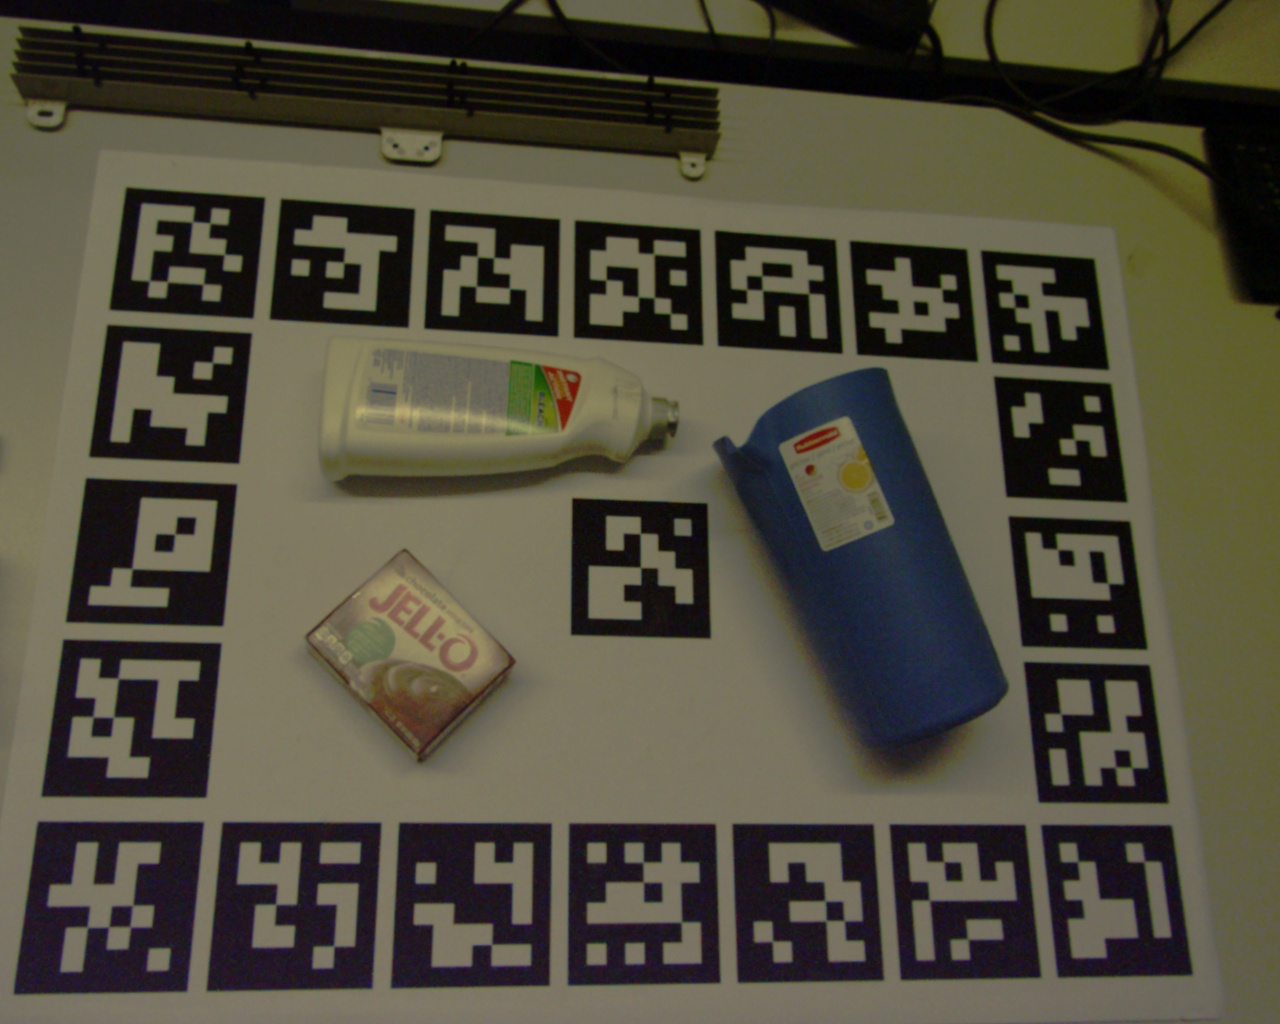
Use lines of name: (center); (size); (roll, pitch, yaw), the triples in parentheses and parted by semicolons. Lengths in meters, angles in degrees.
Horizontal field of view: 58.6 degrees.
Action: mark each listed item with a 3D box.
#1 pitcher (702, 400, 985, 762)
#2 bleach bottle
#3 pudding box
pitcher: (0.158, 0.048, 0.837); (0.186, 0.135, 0.243); (-17, 81, -48)
bleach bottle: (-0.102, -0.060, 0.844); (0.249, 0.068, 0.103); (-1, 79, -11)
pudding box: (-0.160, 0.107, 0.796); (0.114, 0.039, 0.089); (46, 67, 4)
